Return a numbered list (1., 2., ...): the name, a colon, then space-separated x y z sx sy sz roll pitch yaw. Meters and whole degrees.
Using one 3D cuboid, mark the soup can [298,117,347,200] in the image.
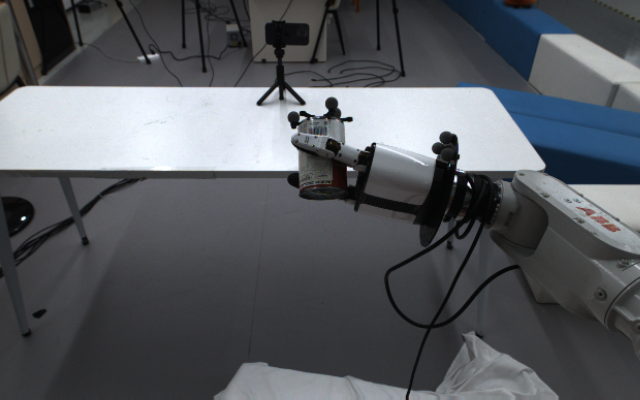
1. soup can: 0.002 -0.058 0.669 0.067 0.067 0.101 -1 77 -4
